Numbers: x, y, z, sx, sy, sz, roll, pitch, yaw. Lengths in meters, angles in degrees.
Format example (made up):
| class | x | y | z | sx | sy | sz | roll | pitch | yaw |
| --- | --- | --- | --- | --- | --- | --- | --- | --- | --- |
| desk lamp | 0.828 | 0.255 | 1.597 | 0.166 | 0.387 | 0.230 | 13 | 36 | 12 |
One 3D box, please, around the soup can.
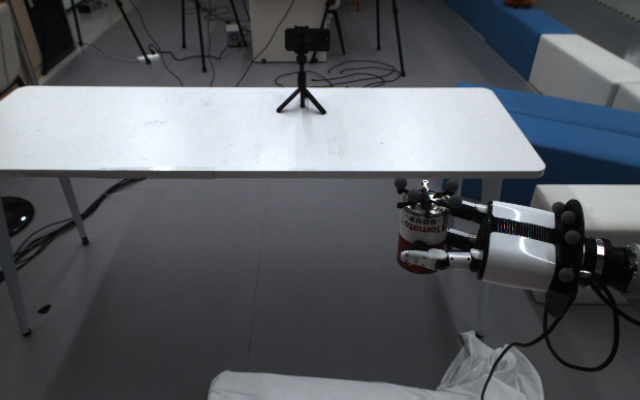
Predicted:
| class | x | y | z | sx | sy | sz | roll | pitch | yaw |
| --- | --- | --- | --- | --- | --- | --- | --- | --- | --- |
| soup can | 0.147 | 0.042 | 0.680 | 0.067 | 0.101 | 0.067 | -2 | 34 | 1 |
